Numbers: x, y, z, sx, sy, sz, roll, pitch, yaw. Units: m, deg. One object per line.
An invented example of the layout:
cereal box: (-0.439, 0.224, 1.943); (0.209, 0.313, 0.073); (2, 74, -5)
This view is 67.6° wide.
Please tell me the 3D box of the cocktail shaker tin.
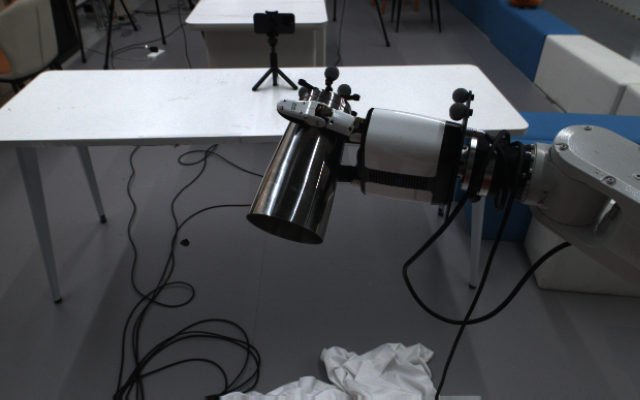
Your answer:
cocktail shaker tin: (-0.014, -0.045, 0.579); (0.093, 0.093, 0.170); (13, 72, 15)
